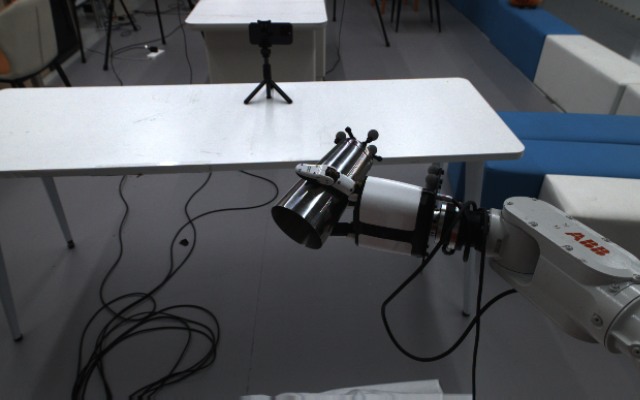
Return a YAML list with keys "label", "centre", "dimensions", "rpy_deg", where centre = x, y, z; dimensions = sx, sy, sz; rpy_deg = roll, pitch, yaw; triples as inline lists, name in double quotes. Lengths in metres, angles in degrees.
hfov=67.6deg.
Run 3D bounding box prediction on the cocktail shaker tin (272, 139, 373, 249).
- label: "cocktail shaker tin"
  centre: [0.011, -0.023, 0.748]
  dimensions: [0.093, 0.093, 0.170]
  rpy_deg: [23, 57, 27]
